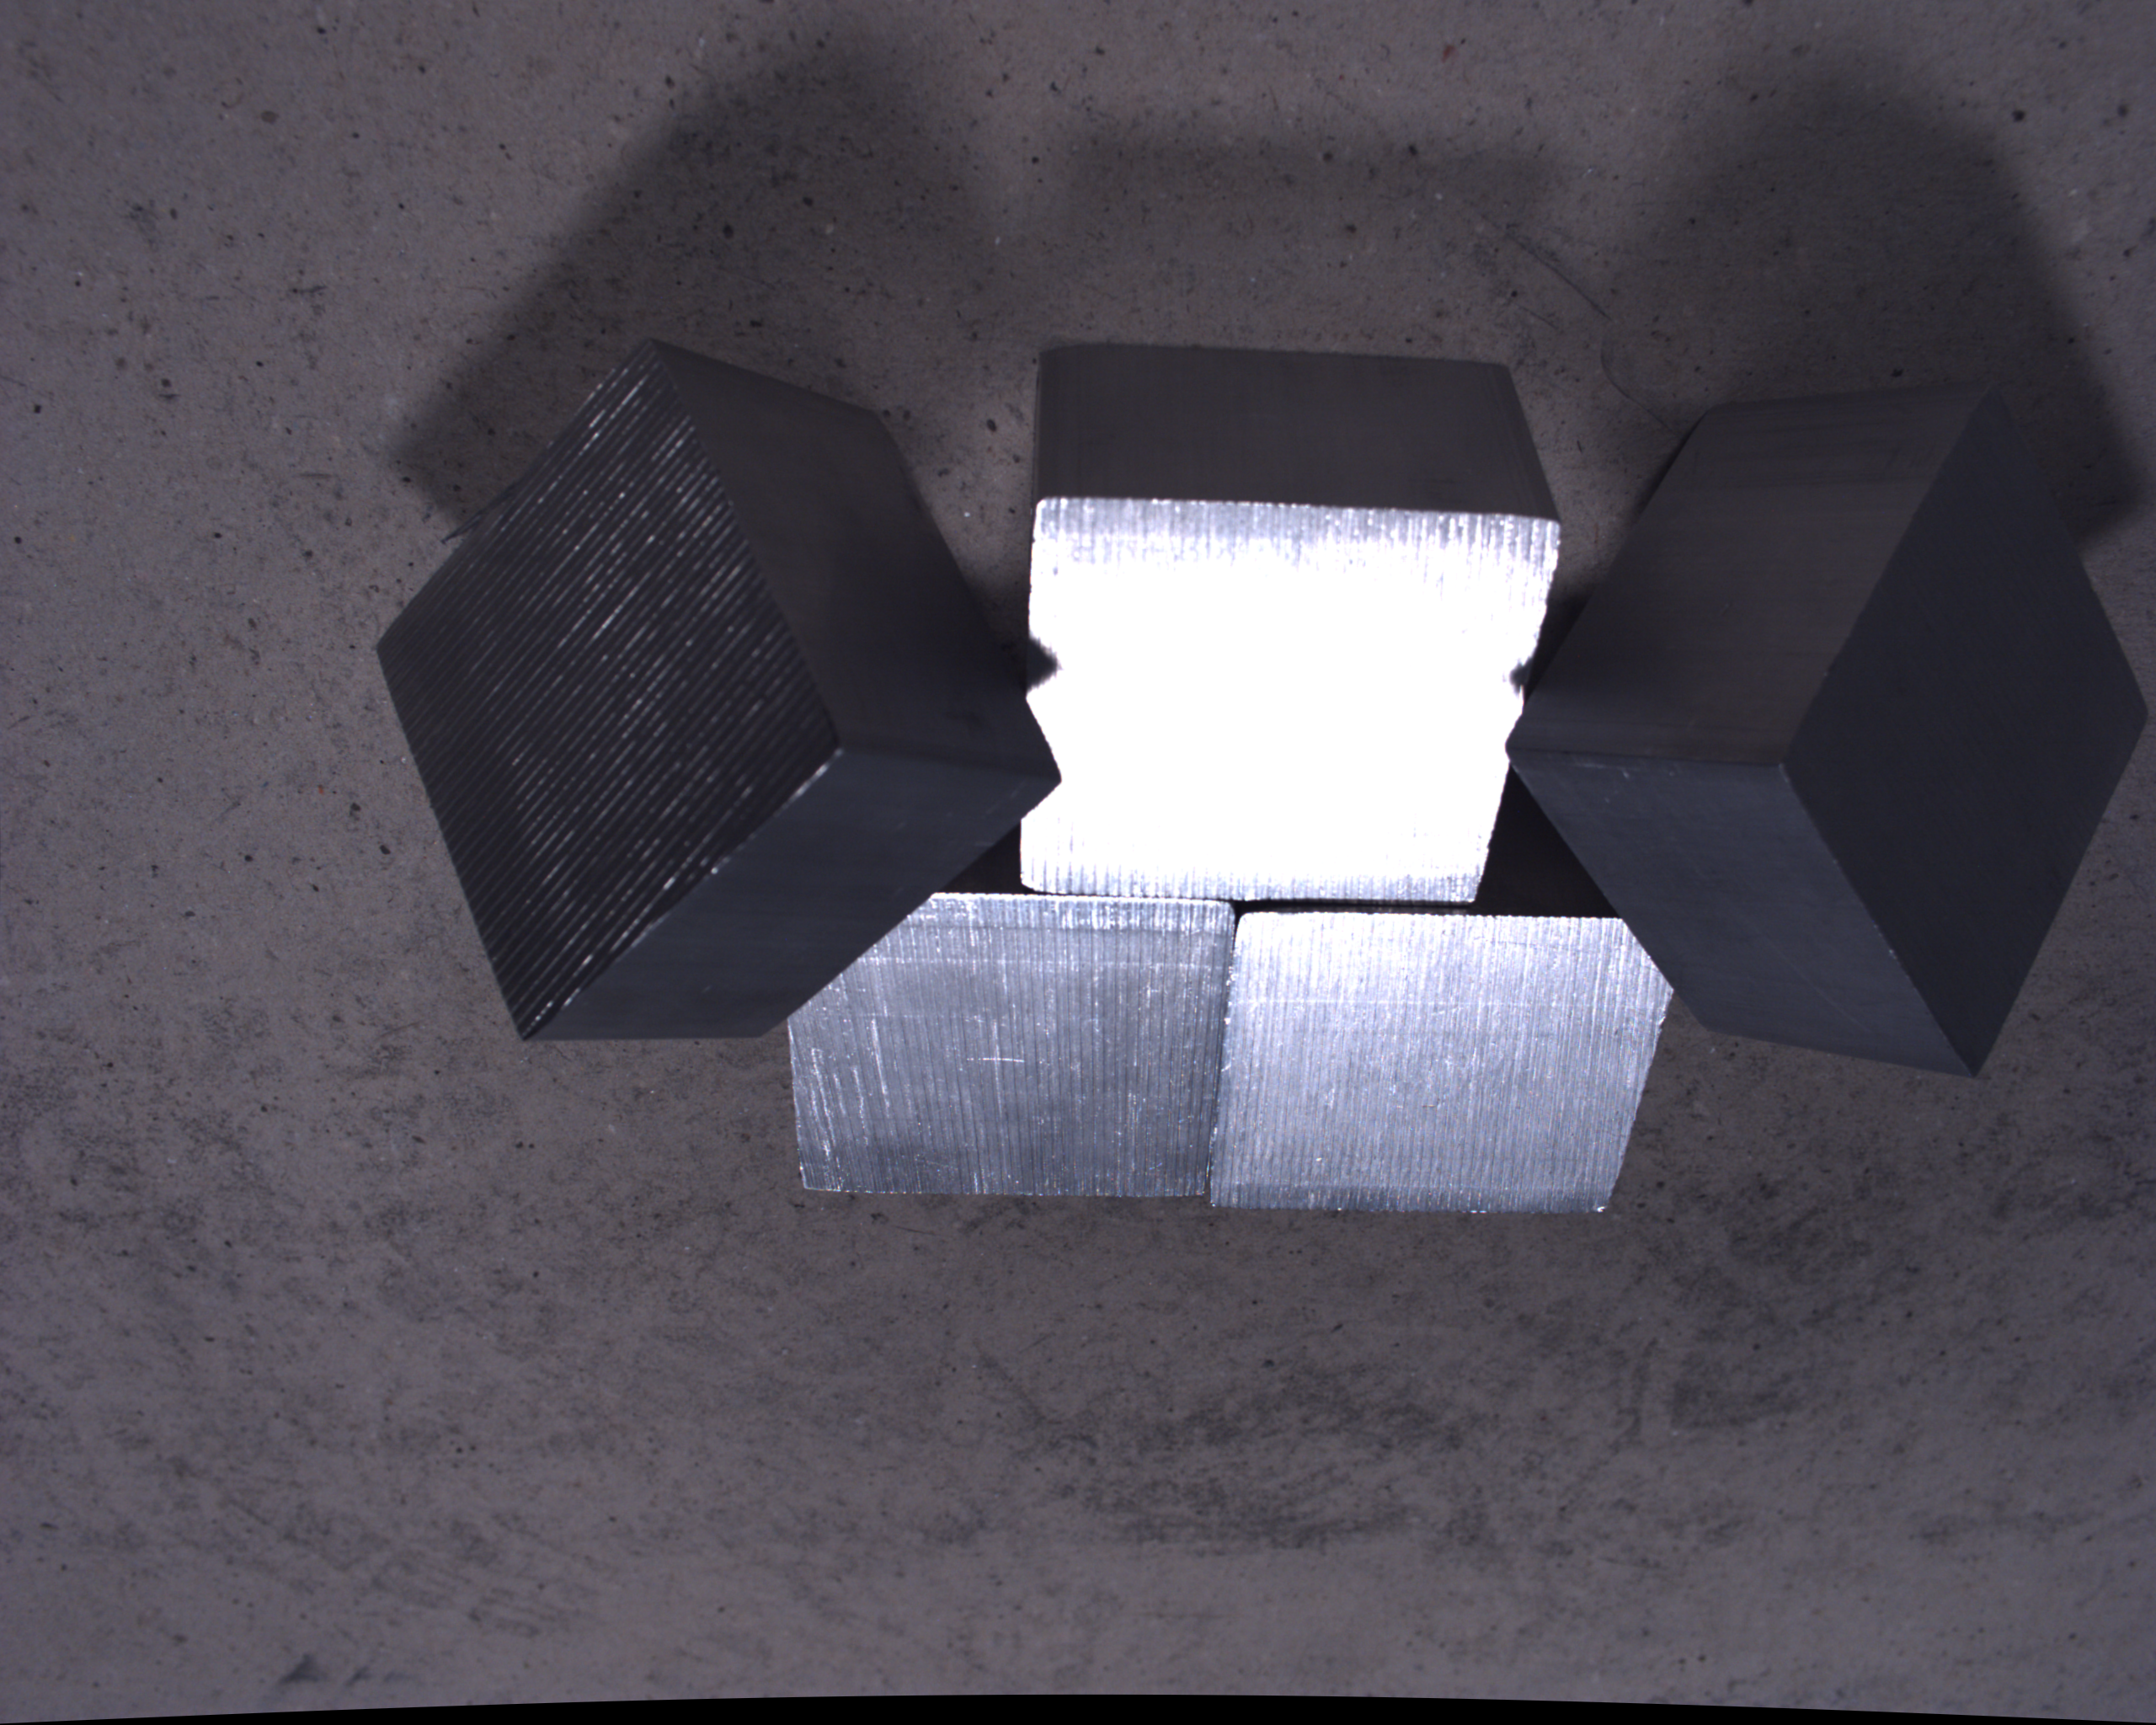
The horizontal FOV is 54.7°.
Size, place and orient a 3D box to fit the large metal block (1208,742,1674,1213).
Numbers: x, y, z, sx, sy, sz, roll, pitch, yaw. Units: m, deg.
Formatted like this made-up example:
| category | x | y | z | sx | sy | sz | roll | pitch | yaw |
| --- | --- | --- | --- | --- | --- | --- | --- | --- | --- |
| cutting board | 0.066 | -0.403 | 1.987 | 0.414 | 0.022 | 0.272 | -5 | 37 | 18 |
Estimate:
| category | x | y | z | sx | sy | sz | roll | pitch | yaw |
| --- | --- | --- | --- | --- | --- | --- | --- | --- | --- |
| large metal block | 0.067 | 0.023 | 0.411 | 0.081 | 0.050 | 0.079 | 1 | 130 | -2 |

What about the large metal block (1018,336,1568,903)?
| category | x | y | z | sx | sy | sz | roll | pitch | yaw |
| --- | --- | --- | --- | --- | --- | --- | --- | --- | --- |
| large metal block | 0.032 | -0.041 | 0.359 | 0.081 | 0.050 | 0.079 | 2 | 130 | -2 |

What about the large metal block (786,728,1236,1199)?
| category | x | y | z | sx | sy | sz | roll | pitch | yaw |
| --- | --- | --- | --- | --- | --- | --- | --- | --- | --- |
| large metal block | -0.014 | 0.020 | 0.408 | 0.081 | 0.050 | 0.079 | 1 | 130 | -2 |

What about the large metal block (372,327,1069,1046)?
| category | x | y | z | sx | sy | sz | roll | pitch | yaw |
| --- | --- | --- | --- | --- | --- | --- | --- | --- | --- |
| large metal block | -0.061 | -0.025 | 0.341 | 0.080 | 0.080 | 0.050 | -39 | 155 | 28 |

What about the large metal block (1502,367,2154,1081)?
| category | x | y | z | sx | sy | sz | roll | pitch | yaw |
| --- | --- | --- | --- | --- | --- | --- | --- | --- | --- |
| large metal block | 0.127 | -0.023 | 0.347 | 0.050 | 0.080 | 0.080 | 8 | 147 | 51 |
